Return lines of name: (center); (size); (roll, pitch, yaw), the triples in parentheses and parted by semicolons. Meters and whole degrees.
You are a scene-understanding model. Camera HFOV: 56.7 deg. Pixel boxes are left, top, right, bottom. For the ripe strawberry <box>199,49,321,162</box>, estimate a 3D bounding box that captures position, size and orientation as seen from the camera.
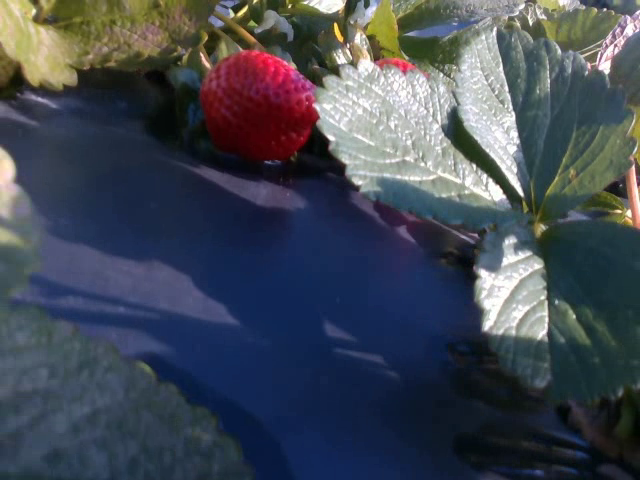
ripe strawberry: (-0.017, -0.042, 0.183); (0.051, 0.037, 0.043); (19, 52, 43)
